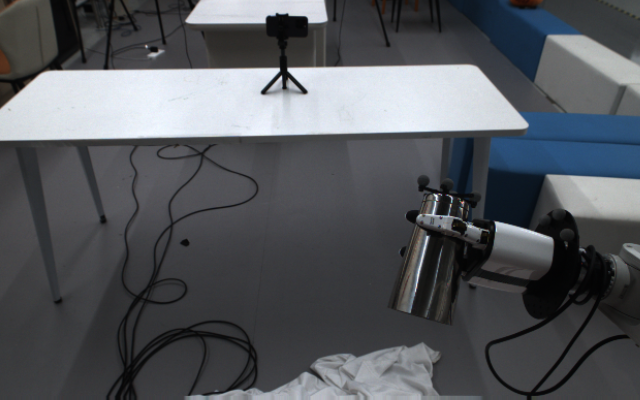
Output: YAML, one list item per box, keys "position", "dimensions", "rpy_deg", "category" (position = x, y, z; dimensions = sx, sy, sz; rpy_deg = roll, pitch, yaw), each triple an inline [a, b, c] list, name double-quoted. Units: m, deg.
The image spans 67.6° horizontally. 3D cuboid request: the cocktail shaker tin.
- position: [0.164, 0.078, 0.686]
  dimensions: [0.093, 0.093, 0.170]
  rpy_deg: [13, 79, 15]
  category: "cocktail shaker tin"
